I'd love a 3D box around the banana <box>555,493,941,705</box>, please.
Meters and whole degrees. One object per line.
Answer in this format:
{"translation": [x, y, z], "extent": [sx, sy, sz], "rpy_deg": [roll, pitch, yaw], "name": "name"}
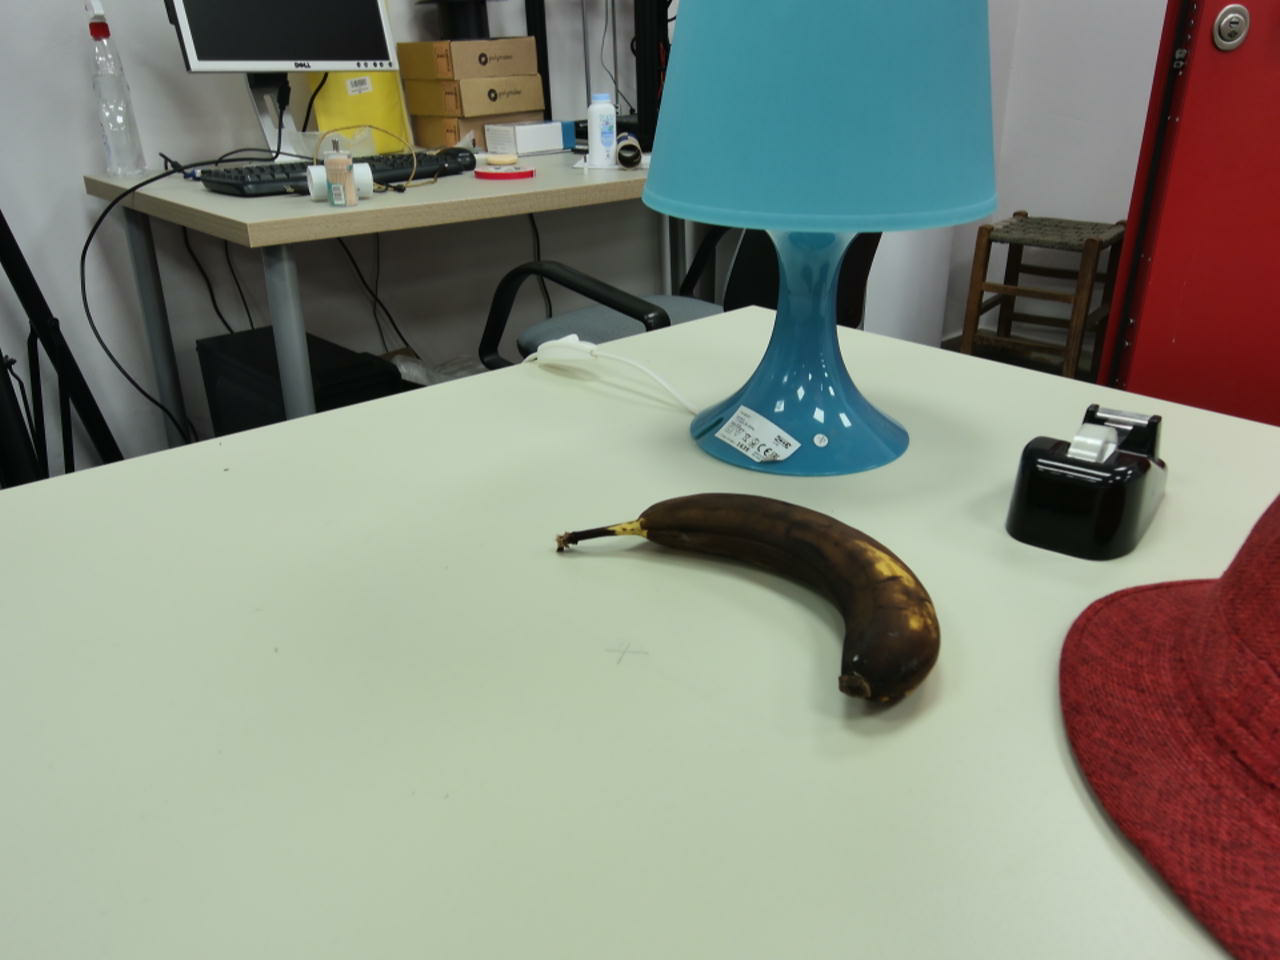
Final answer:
{"translation": [0.056, 0.036, 0.433], "extent": [0.091, 0.034, 0.188], "rpy_deg": [-16, 27, -34], "name": "banana"}
